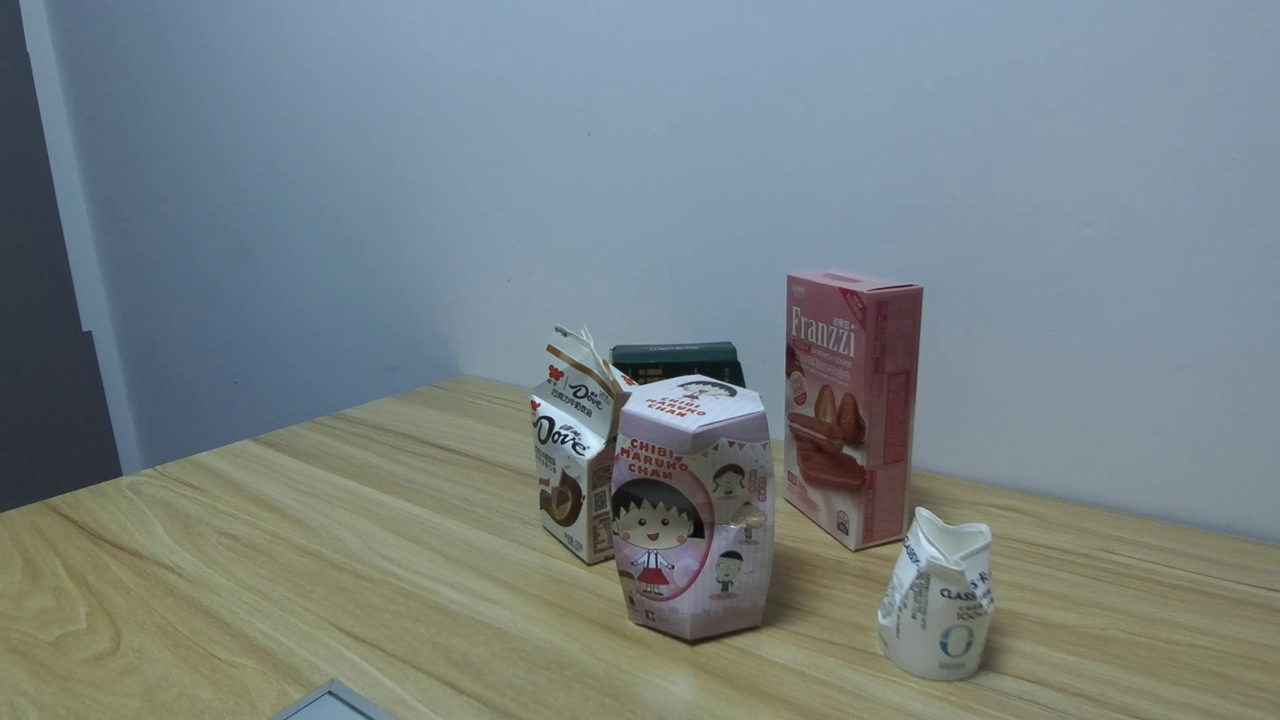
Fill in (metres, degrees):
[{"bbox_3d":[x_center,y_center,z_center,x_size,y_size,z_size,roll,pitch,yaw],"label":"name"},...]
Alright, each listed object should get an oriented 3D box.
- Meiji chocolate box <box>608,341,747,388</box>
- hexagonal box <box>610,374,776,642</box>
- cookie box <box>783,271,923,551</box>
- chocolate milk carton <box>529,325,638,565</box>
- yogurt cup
[{"bbox_3d":[0.029,0.043,0.617,0.122,0.116,0.058,0,19,1],"label":"Meiji chocolate box"},{"bbox_3d":[0.029,0.084,0.417,0.089,0.134,0.093,-1,16,0],"label":"hexagonal box"},{"bbox_3d":[0.149,0.033,0.510,0.048,0.184,0.096,-7,16,-19],"label":"cookie box"},{"bbox_3d":[-0.028,0.052,0.500,0.074,0.155,0.076,-13,21,-31],"label":"chocolate milk carton"},{"bbox_3d":[0.159,0.125,0.376,0.055,0.072,0.055,16,22,41],"label":"yogurt cup"}]
